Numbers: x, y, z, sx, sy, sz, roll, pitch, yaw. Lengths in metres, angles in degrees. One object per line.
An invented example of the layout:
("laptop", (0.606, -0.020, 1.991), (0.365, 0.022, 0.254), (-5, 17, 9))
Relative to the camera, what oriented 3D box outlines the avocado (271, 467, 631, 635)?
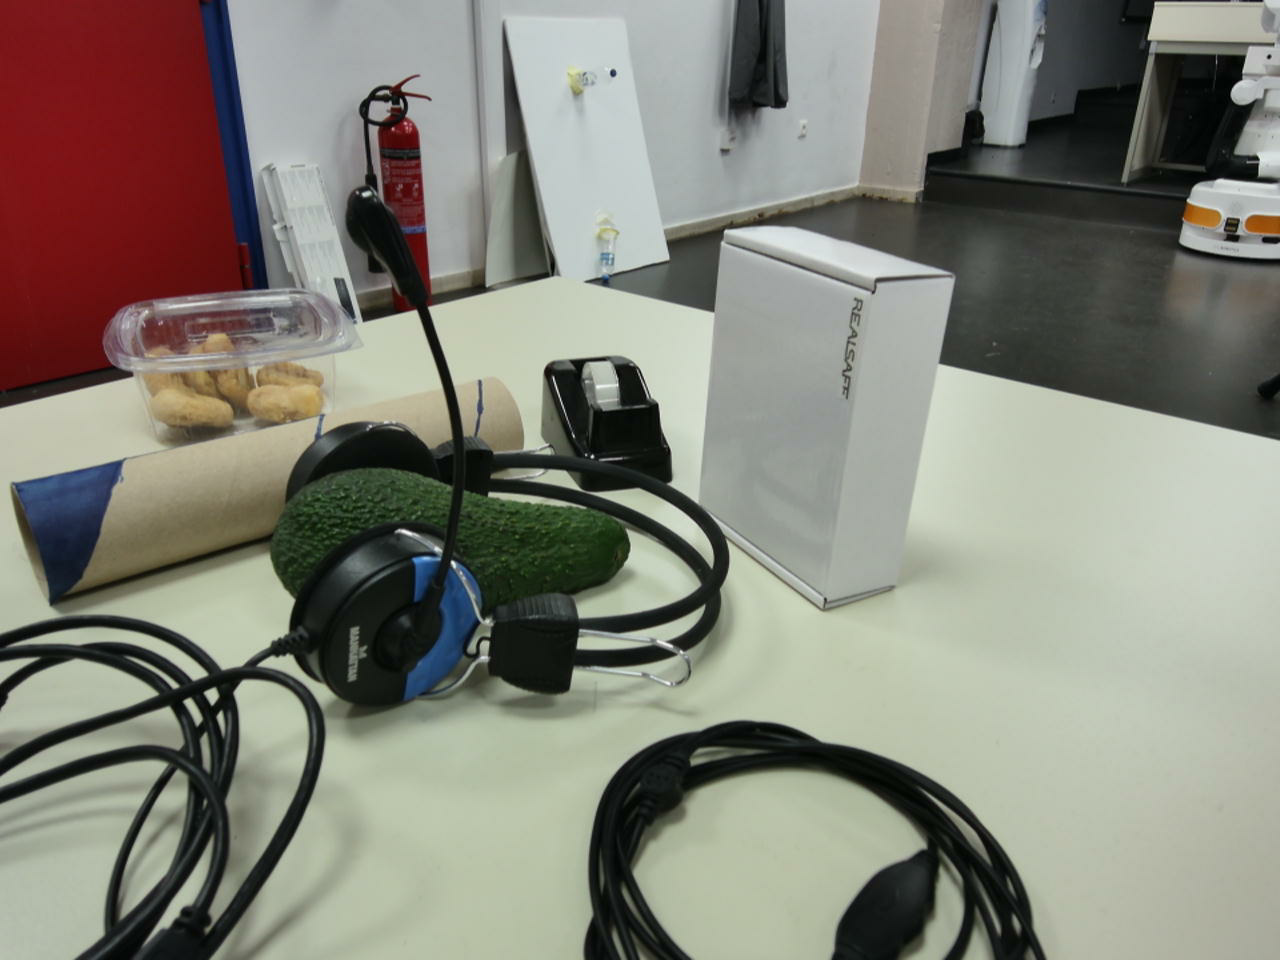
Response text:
("avocado", (-0.072, 0.020, 0.395), (0.141, 0.067, 0.063), (-16, 27, -33))
